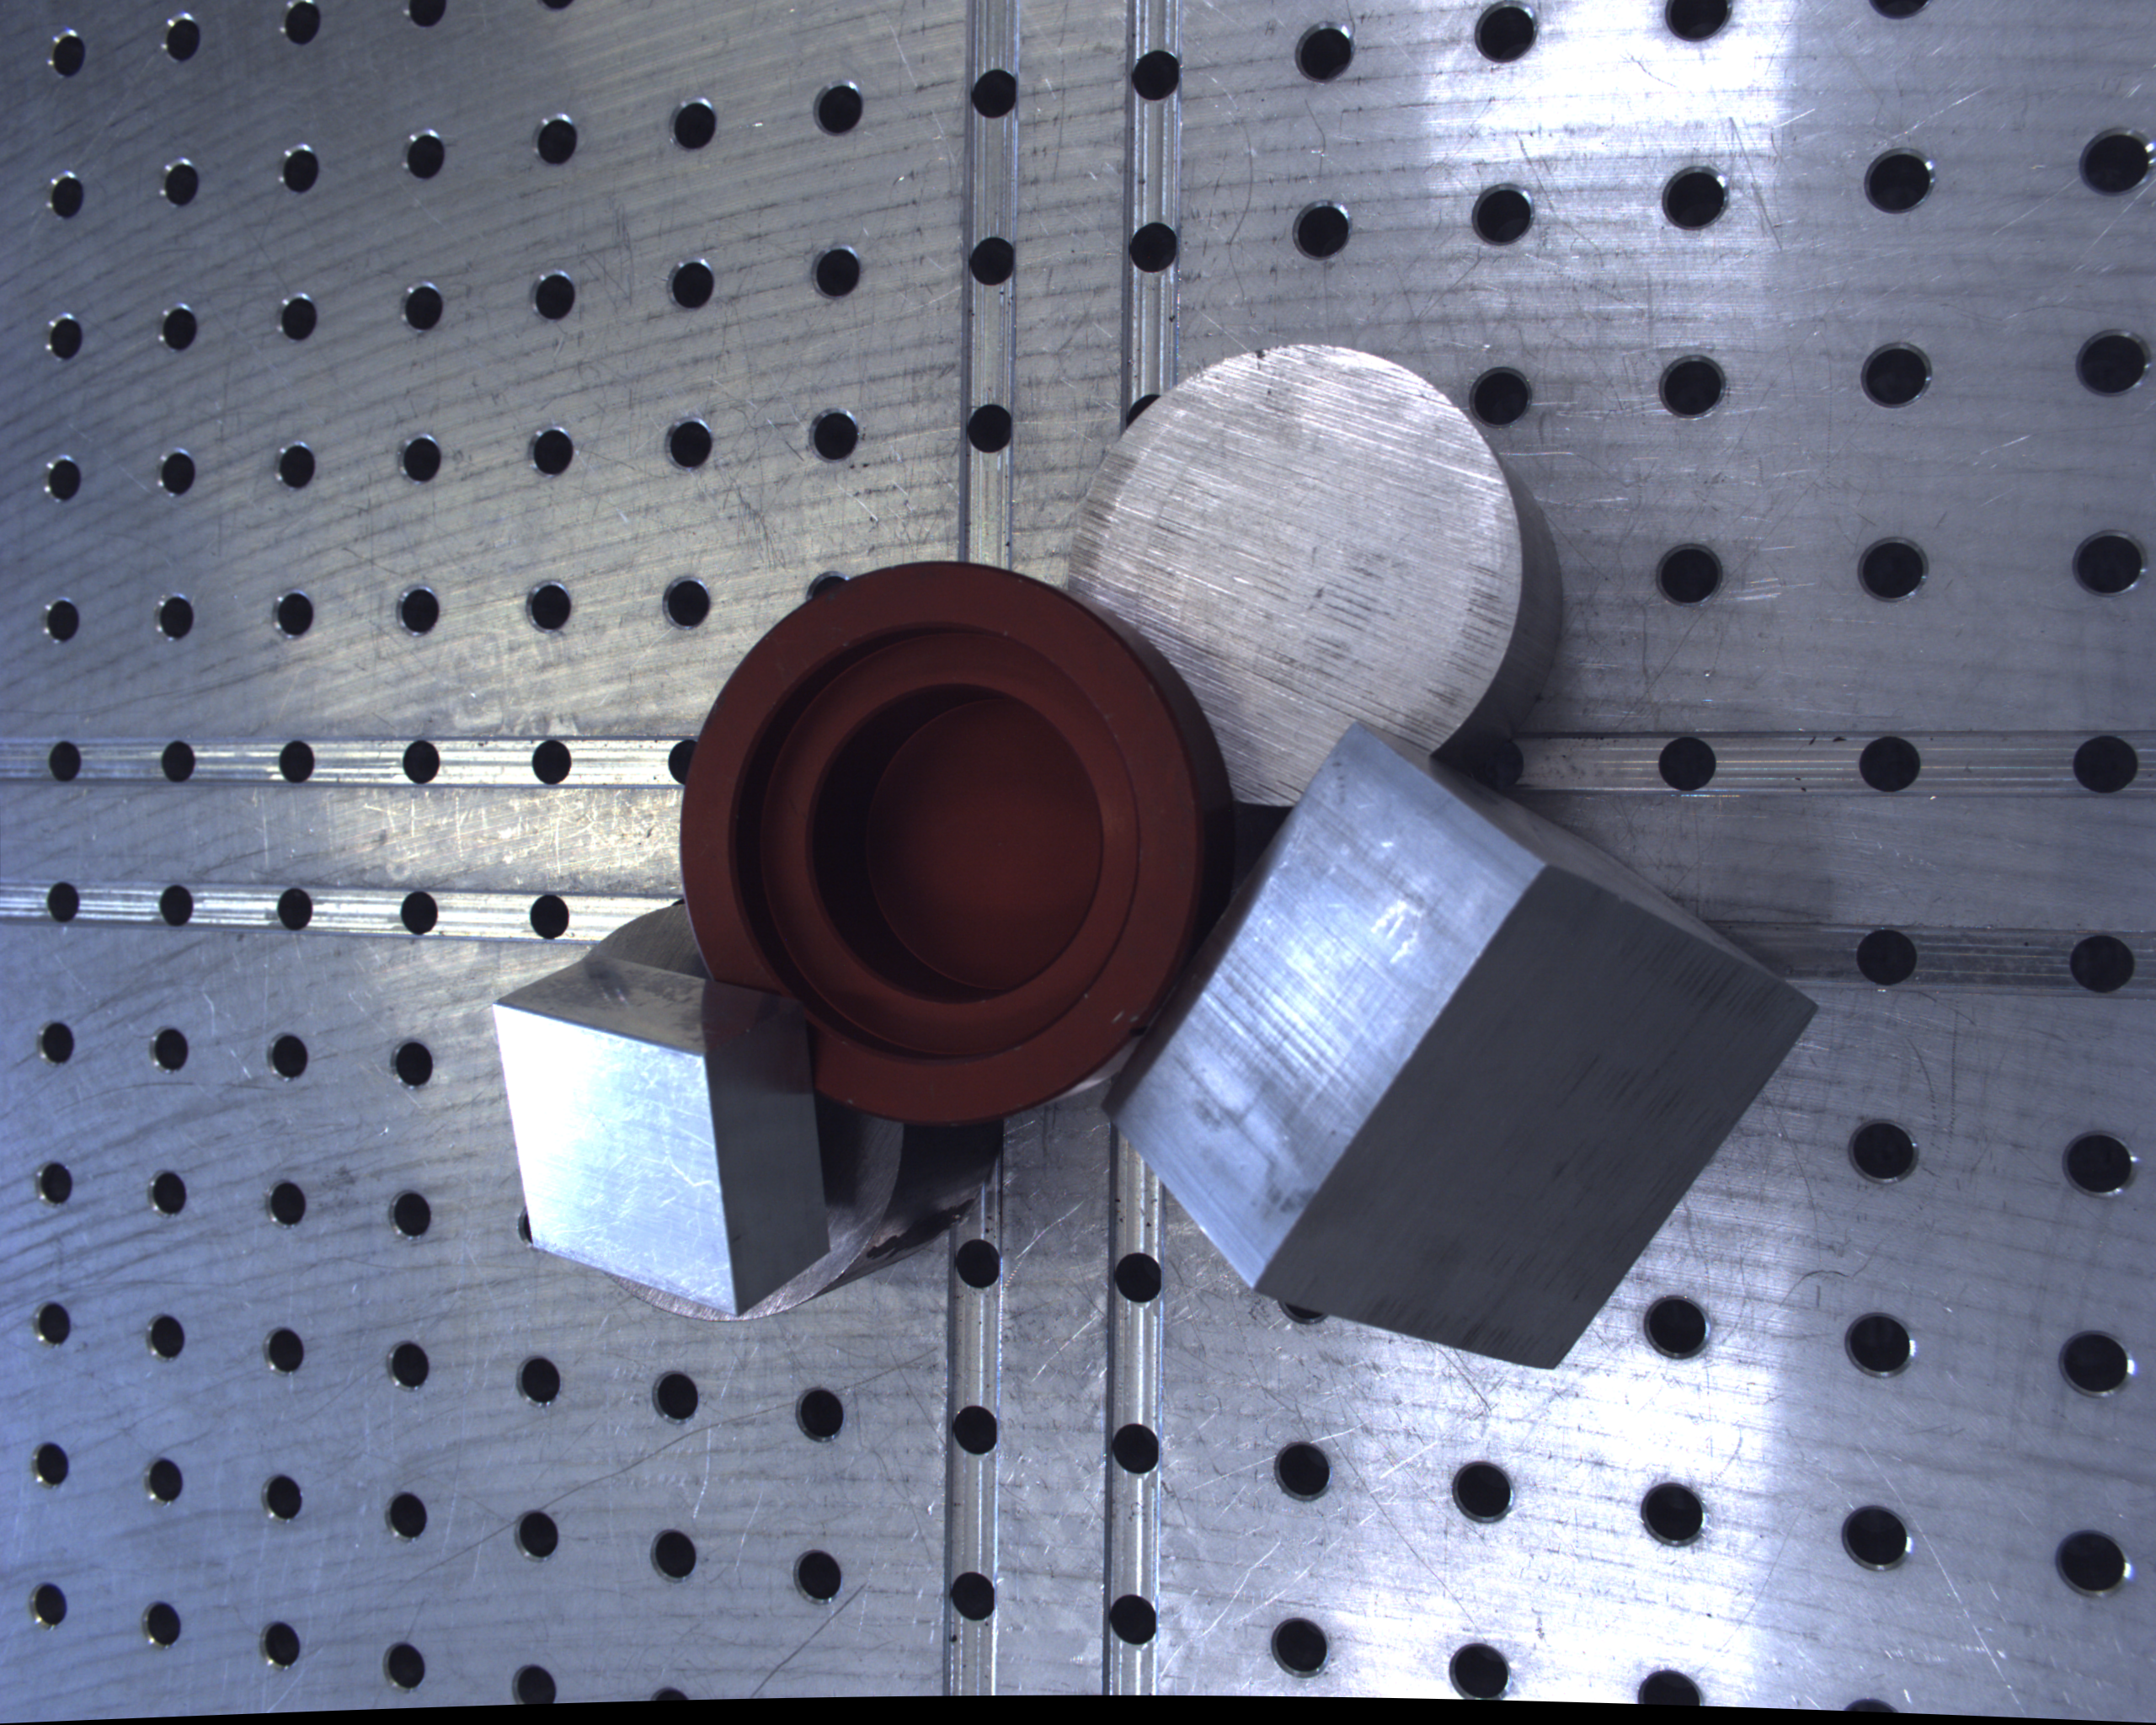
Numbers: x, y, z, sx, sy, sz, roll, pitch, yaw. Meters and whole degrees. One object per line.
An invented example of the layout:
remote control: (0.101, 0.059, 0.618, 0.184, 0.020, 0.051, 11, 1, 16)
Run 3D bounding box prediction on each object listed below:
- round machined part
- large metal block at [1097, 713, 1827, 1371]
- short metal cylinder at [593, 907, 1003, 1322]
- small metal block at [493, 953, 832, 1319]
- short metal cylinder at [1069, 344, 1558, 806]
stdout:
round machined part: (-0.019, -0.004, 0.379, 0.098, 0.042, 0.097, 0, 90, 20)
large metal block: (0.065, 0.033, 0.353, 0.080, 0.080, 0.050, -57, 39, 11)
short metal cylinder: (-0.061, 0.047, 0.420, 0.080, 0.050, 0.079, 0, 90, 20)
small metal block: (-0.074, 0.048, 0.372, 0.050, 0.025, 0.050, 9, 113, 31)
short metal cylinder: (0.045, -0.050, 0.383, 0.080, 0.050, 0.079, 0, 90, 20)
